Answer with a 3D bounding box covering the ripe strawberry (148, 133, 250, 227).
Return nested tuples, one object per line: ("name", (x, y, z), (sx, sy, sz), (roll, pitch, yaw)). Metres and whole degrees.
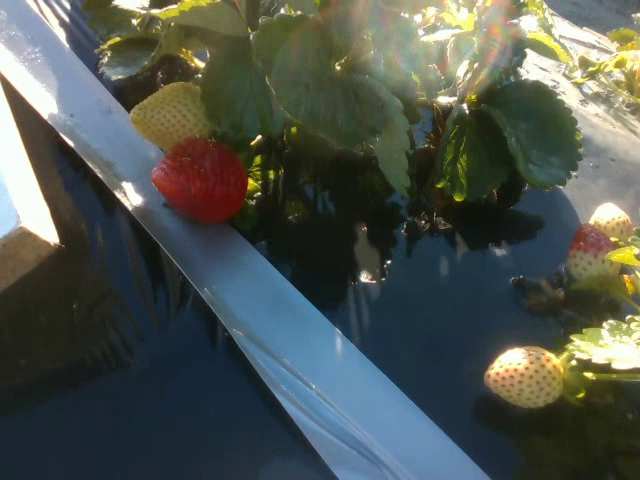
("ripe strawberry", (-0.057, -0.028, 0.266), (0.045, 0.049, 0.063), (-15, 2, 16))
